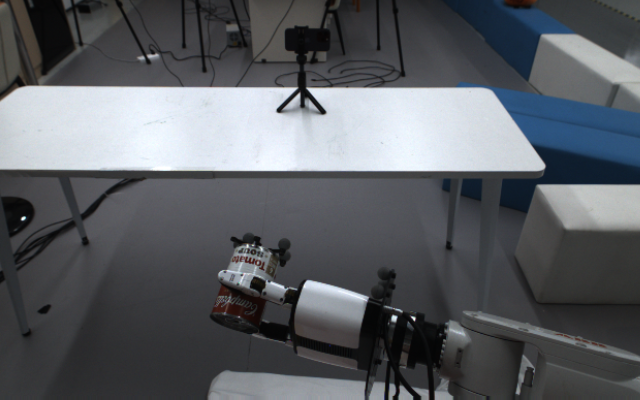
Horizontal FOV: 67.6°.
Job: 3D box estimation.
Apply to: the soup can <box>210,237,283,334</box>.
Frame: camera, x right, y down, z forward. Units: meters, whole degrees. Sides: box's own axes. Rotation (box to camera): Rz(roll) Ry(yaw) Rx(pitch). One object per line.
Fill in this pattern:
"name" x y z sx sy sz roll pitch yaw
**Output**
"soup can" -0.097 0.119 0.650 0.067 0.067 0.101 9 61 10
